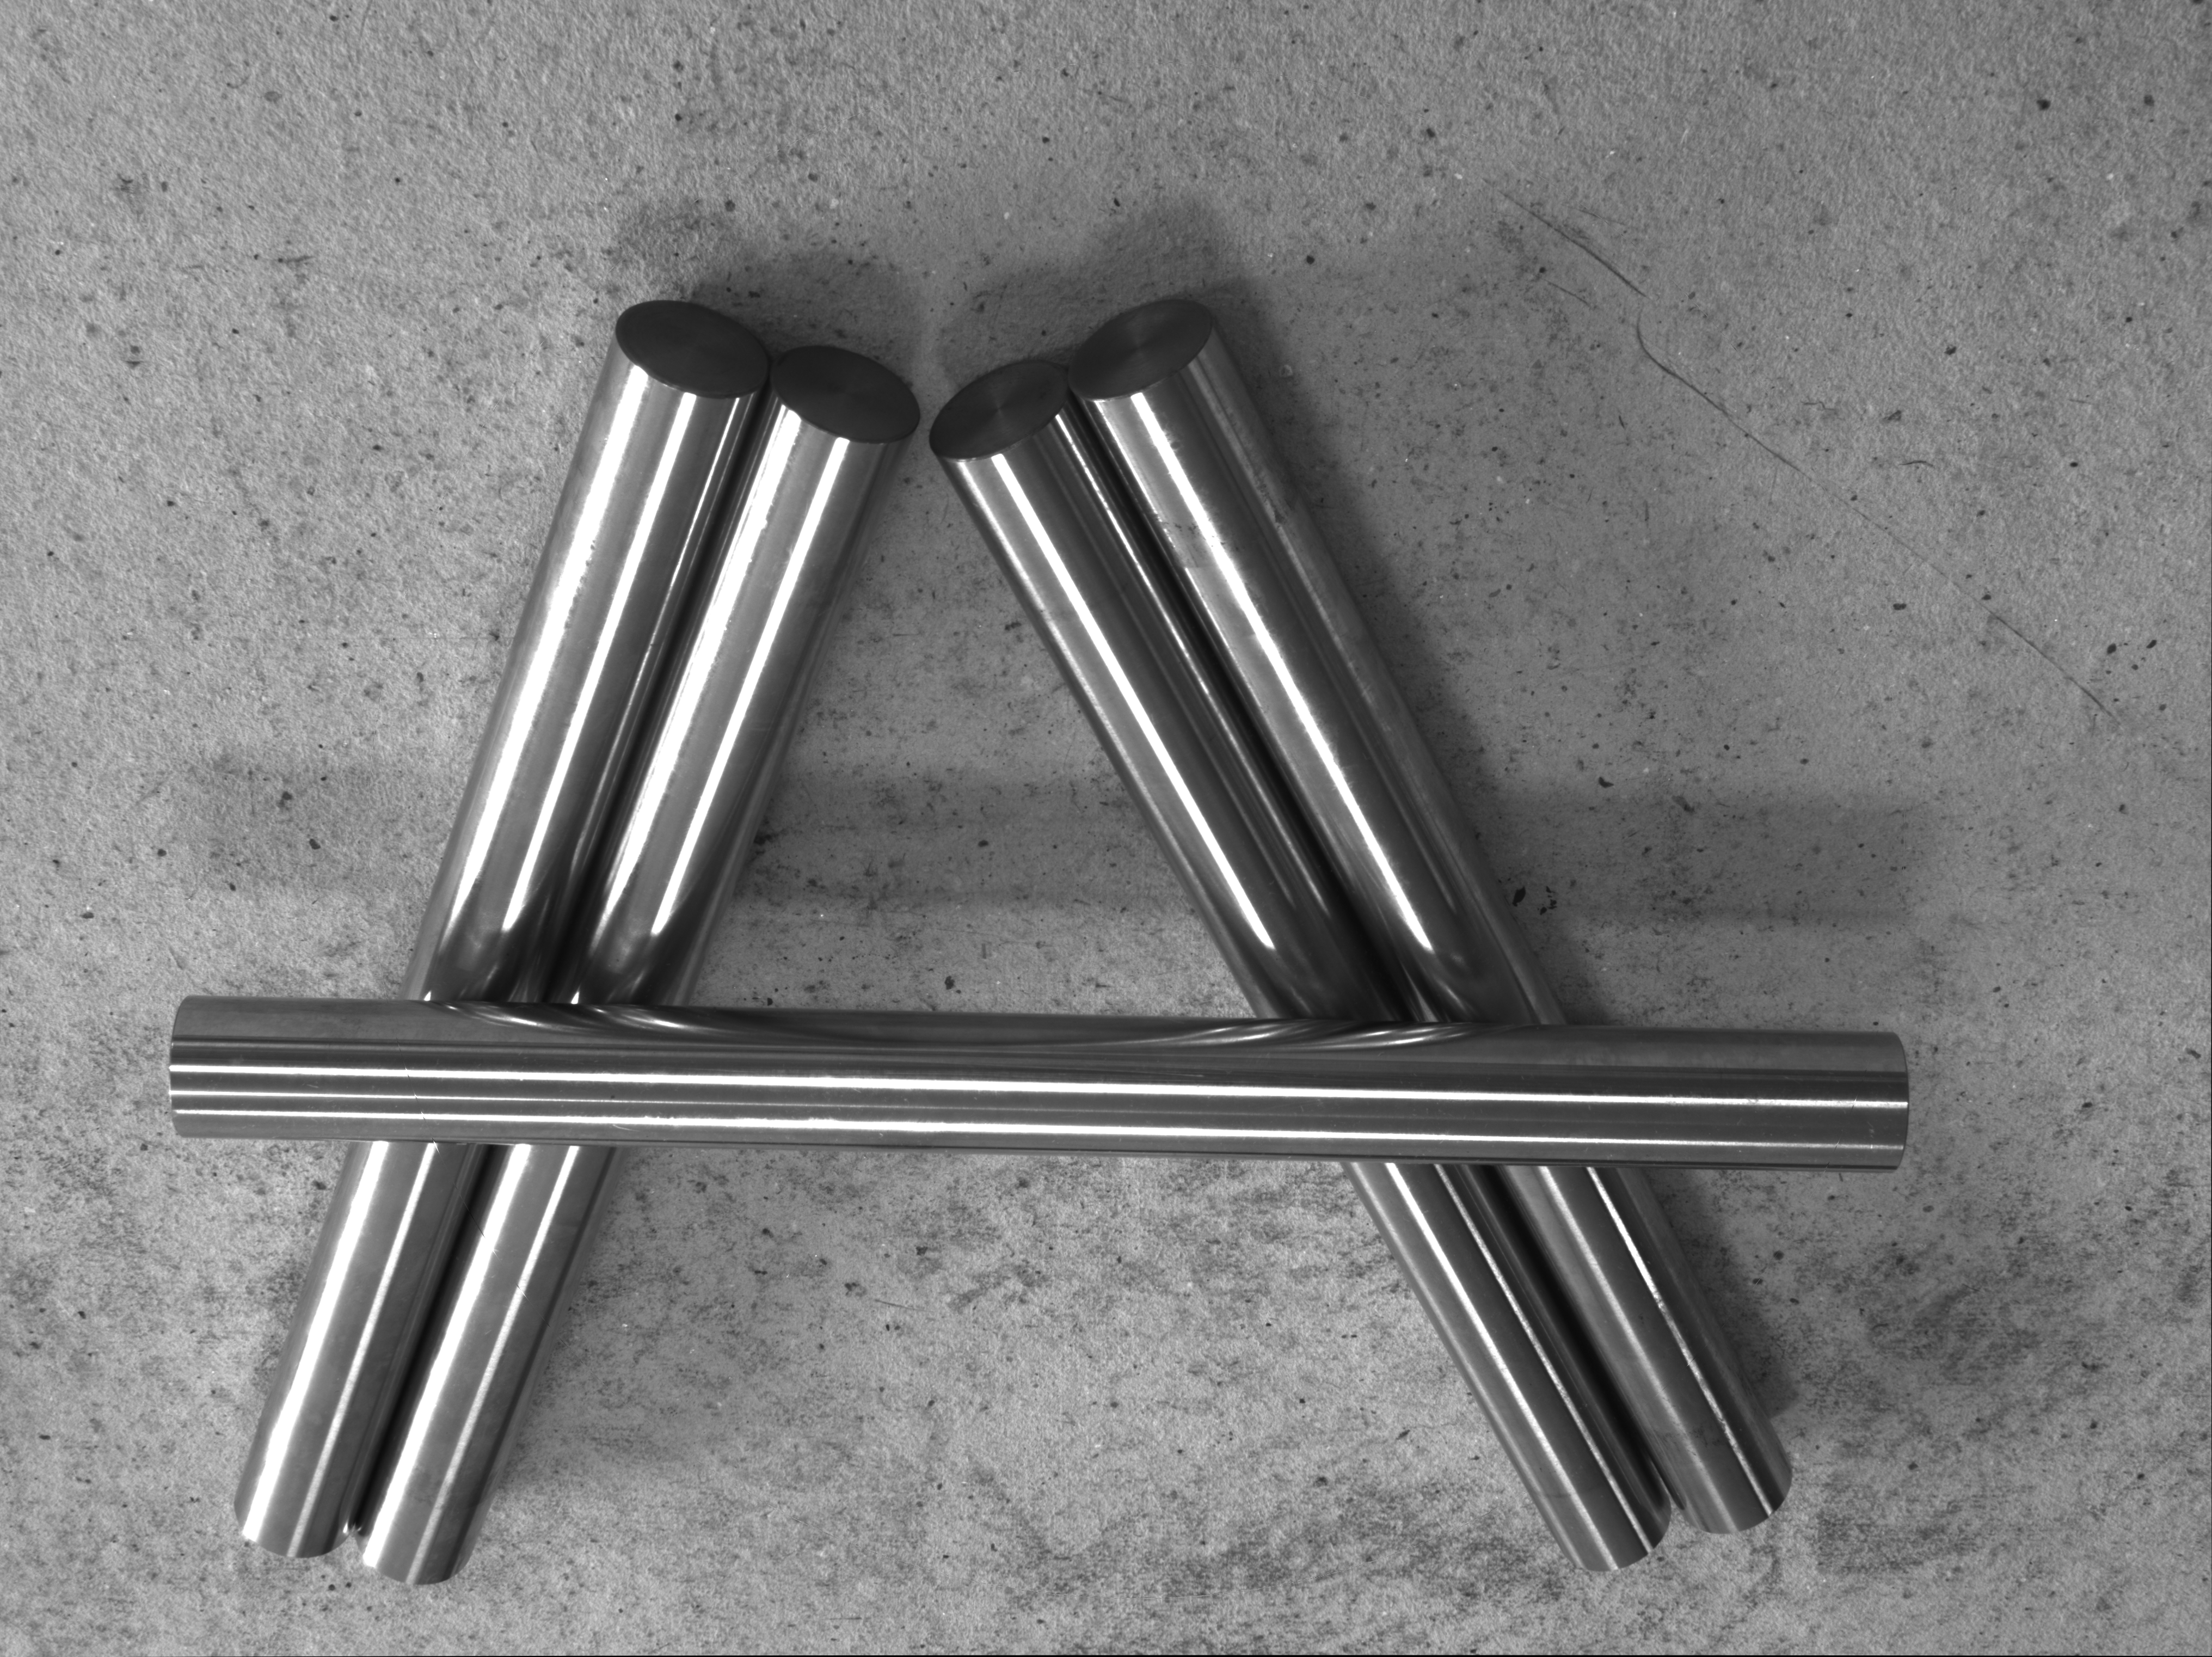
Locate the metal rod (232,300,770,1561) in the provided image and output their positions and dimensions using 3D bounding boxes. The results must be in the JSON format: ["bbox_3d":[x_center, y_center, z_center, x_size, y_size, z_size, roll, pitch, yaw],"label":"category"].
[{"bbox_3d":[-0.116,0.033,0.666,0.025,0.025,0.300,16,128,-13],"label":"metal rod"}]

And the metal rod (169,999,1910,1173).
[{"bbox_3d":[-0.011,0.045,0.644,0.300,0.025,0.025,1,130,-1],"label":"metal rod"}]

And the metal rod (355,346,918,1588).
[{"bbox_3d":[-0.093,0.039,0.671,0.025,0.025,0.300,16,128,-13],"label":"metal rod"}]

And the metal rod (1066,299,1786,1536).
[{"bbox_3d":[0.066,0.030,0.665,0.025,0.025,0.301,-19,127,15],"label":"metal rod"}]

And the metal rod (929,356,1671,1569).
[{"bbox_3d":[0.044,0.038,0.672,0.025,0.025,0.301,-19,127,15],"label":"metal rod"}]
